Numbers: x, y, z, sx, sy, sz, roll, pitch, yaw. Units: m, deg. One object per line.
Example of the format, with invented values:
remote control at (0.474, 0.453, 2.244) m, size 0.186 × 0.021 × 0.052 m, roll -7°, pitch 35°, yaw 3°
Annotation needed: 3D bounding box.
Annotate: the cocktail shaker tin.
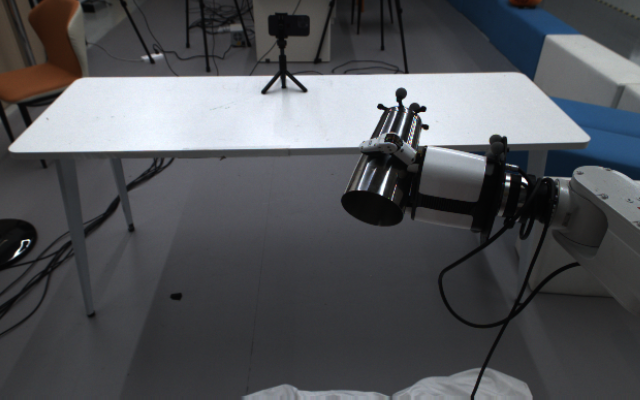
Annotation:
cocktail shaker tin at (0.100, -0.057, 0.722) m, size 0.093 × 0.093 × 0.170 m, roll 14°, pitch 61°, yaw 17°
